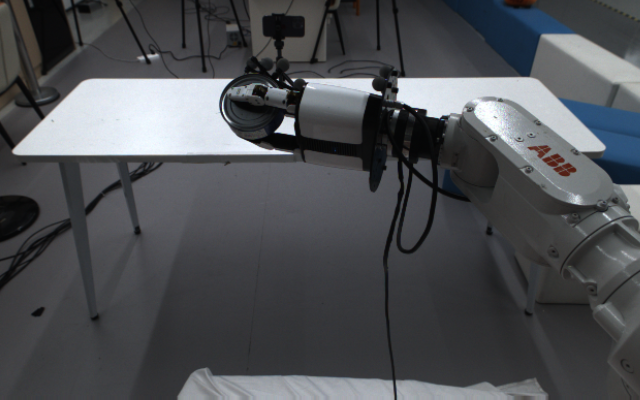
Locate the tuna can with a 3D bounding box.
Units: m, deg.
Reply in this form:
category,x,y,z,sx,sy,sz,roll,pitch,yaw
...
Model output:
category,x,y,z,sx,sy,sz,roll,pitch,yaw
tuna can,-0.092,-0.127,0.663,0.085,0.034,0.085,-2,71,6
